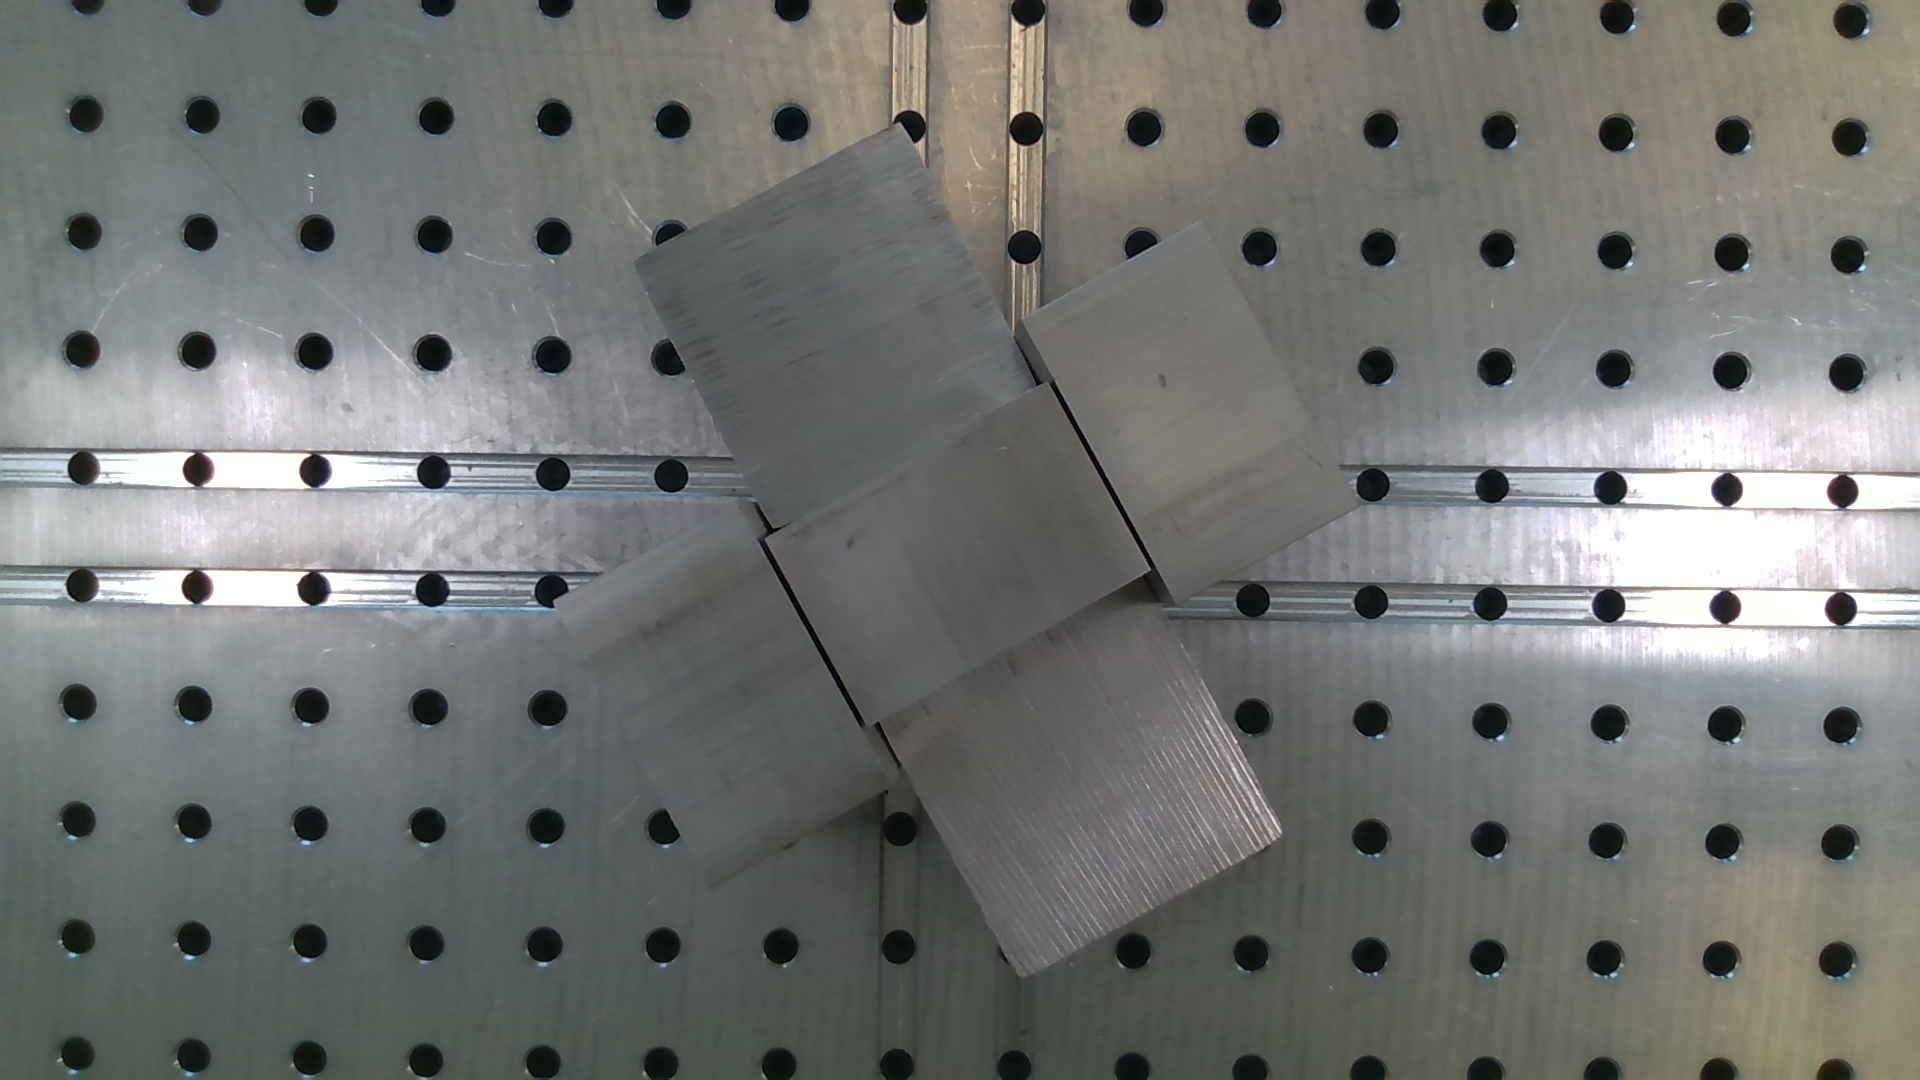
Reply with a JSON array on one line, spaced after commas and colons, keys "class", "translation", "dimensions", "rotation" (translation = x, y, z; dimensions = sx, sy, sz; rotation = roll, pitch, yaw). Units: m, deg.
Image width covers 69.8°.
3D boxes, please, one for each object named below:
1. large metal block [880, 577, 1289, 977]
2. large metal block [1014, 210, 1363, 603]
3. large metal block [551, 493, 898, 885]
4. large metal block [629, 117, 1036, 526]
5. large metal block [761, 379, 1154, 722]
[{"class": "large metal block", "translation": [0.032, 0.060, 0.385], "dimensions": [0.080, 0.050, 0.080], "rotation": [-29, 90, 2]}, {"class": "large metal block", "translation": [0.055, -0.032, 0.369], "dimensions": [0.050, 0.080, 0.080], "rotation": [-28, 90, -1]}, {"class": "large metal block", "translation": [-0.057, 0.036, 0.370], "dimensions": [0.050, 0.080, 0.080], "rotation": [-29, 91, 0]}, {"class": "large metal block", "translation": [-0.033, -0.057, 0.386], "dimensions": [0.080, 0.050, 0.080], "rotation": [-27, 90, 0]}, {"class": "large metal block", "translation": [-0.001, 0.003, 0.370], "dimensions": [0.080, 0.080, 0.050], "rotation": [-29, 90, 0]}]
